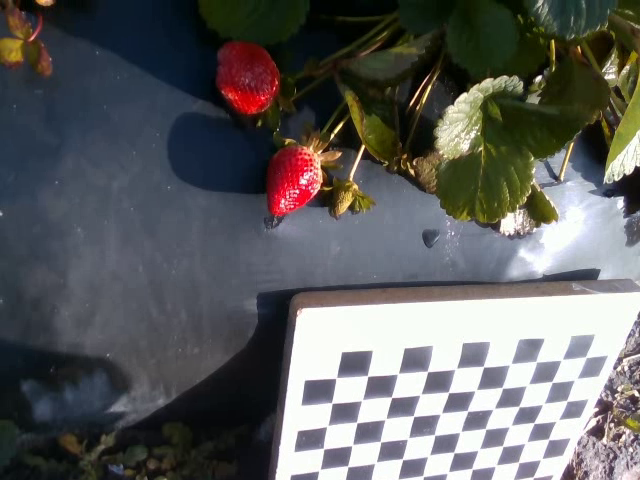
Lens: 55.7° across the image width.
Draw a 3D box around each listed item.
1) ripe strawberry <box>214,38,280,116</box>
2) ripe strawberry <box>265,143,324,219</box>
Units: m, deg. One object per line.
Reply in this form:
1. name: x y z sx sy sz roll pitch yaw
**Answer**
1. ripe strawberry: -0.046 -0.101 0.381 0.054 0.048 0.039 5 27 -47
2. ripe strawberry: -0.018 -0.037 0.383 0.039 0.053 0.043 -6 -43 45
